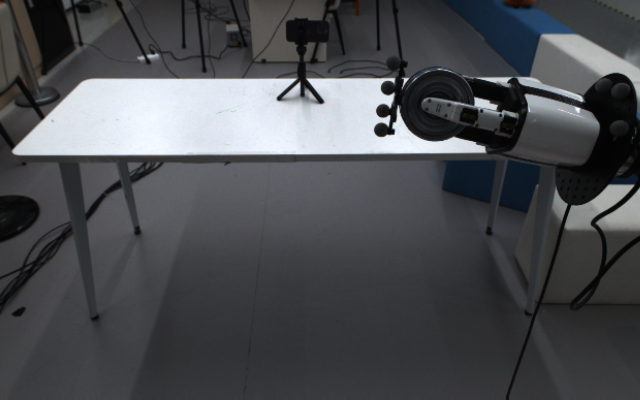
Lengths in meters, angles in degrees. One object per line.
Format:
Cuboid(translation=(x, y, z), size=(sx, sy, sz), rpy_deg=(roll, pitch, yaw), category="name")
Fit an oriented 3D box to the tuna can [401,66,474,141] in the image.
Cuboid(translation=(0.138, -0.118, 0.579), size=(0.085, 0.085, 0.034), rpy_deg=(4, 17, 3), category="tuna can")
